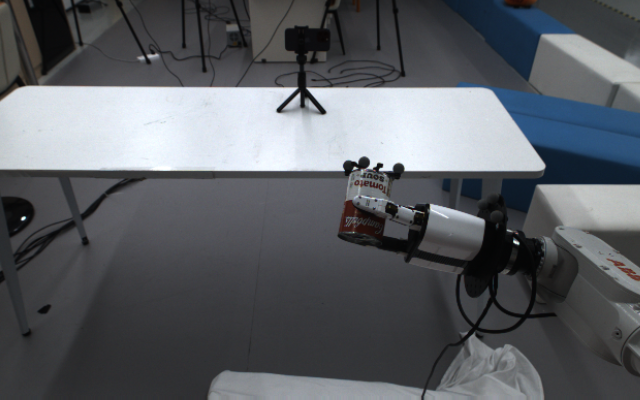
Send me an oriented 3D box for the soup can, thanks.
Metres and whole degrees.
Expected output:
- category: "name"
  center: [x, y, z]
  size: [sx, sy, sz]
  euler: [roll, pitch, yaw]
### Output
- category: "soup can"
  center: [0.070, 0.010, 0.728]
  size: [0.067, 0.067, 0.101]
  euler: [9, 74, 9]
